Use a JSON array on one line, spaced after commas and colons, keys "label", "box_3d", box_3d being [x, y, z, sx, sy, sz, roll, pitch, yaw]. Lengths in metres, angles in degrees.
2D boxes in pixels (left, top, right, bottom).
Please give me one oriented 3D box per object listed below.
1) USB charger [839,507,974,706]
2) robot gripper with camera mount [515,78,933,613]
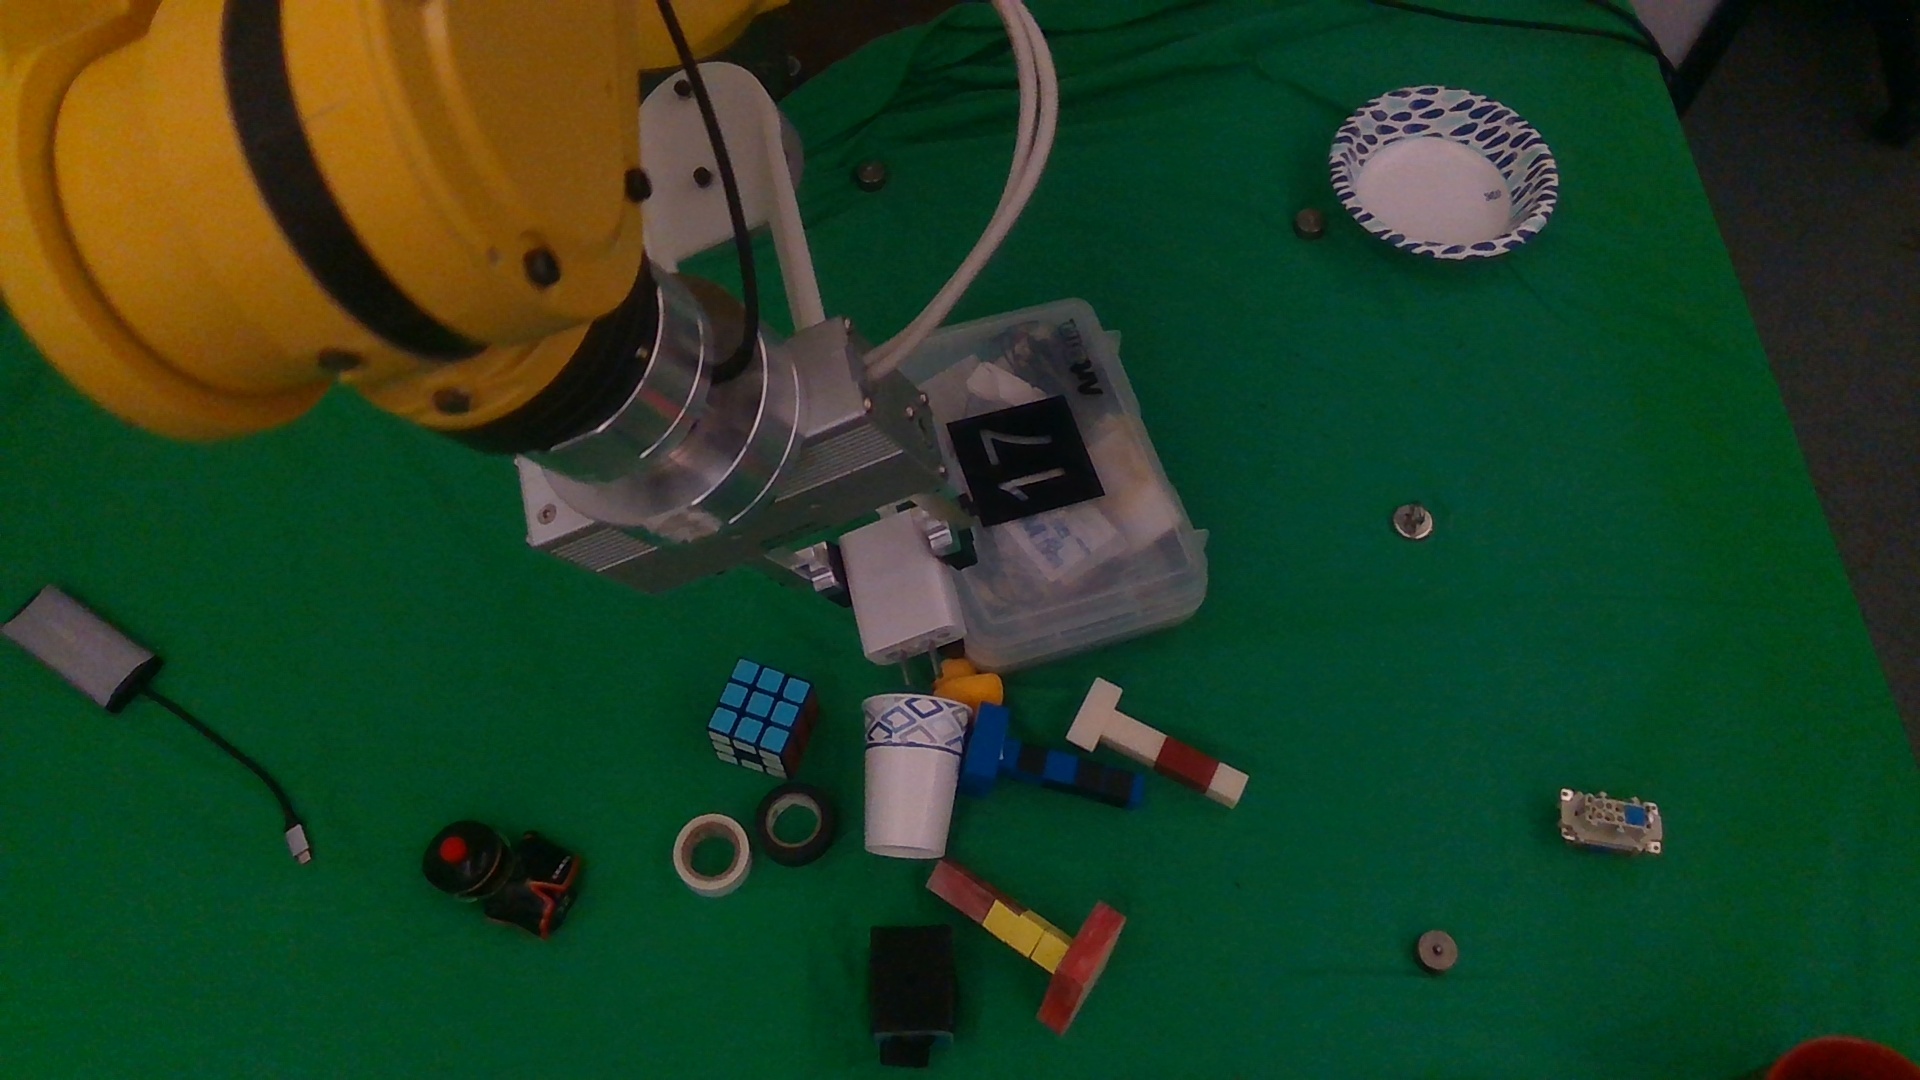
[{"label": "USB charger", "box_3d": [-0.021, 0.029, 0.560, 0.045, 0.029, 0.075, -23, 68, 15]}, {"label": "robot gripper with camera mount", "box_3d": [-0.085, -0.075, 0.537, 0.119, 0.158, 0.193, -23, 69, 16]}]
